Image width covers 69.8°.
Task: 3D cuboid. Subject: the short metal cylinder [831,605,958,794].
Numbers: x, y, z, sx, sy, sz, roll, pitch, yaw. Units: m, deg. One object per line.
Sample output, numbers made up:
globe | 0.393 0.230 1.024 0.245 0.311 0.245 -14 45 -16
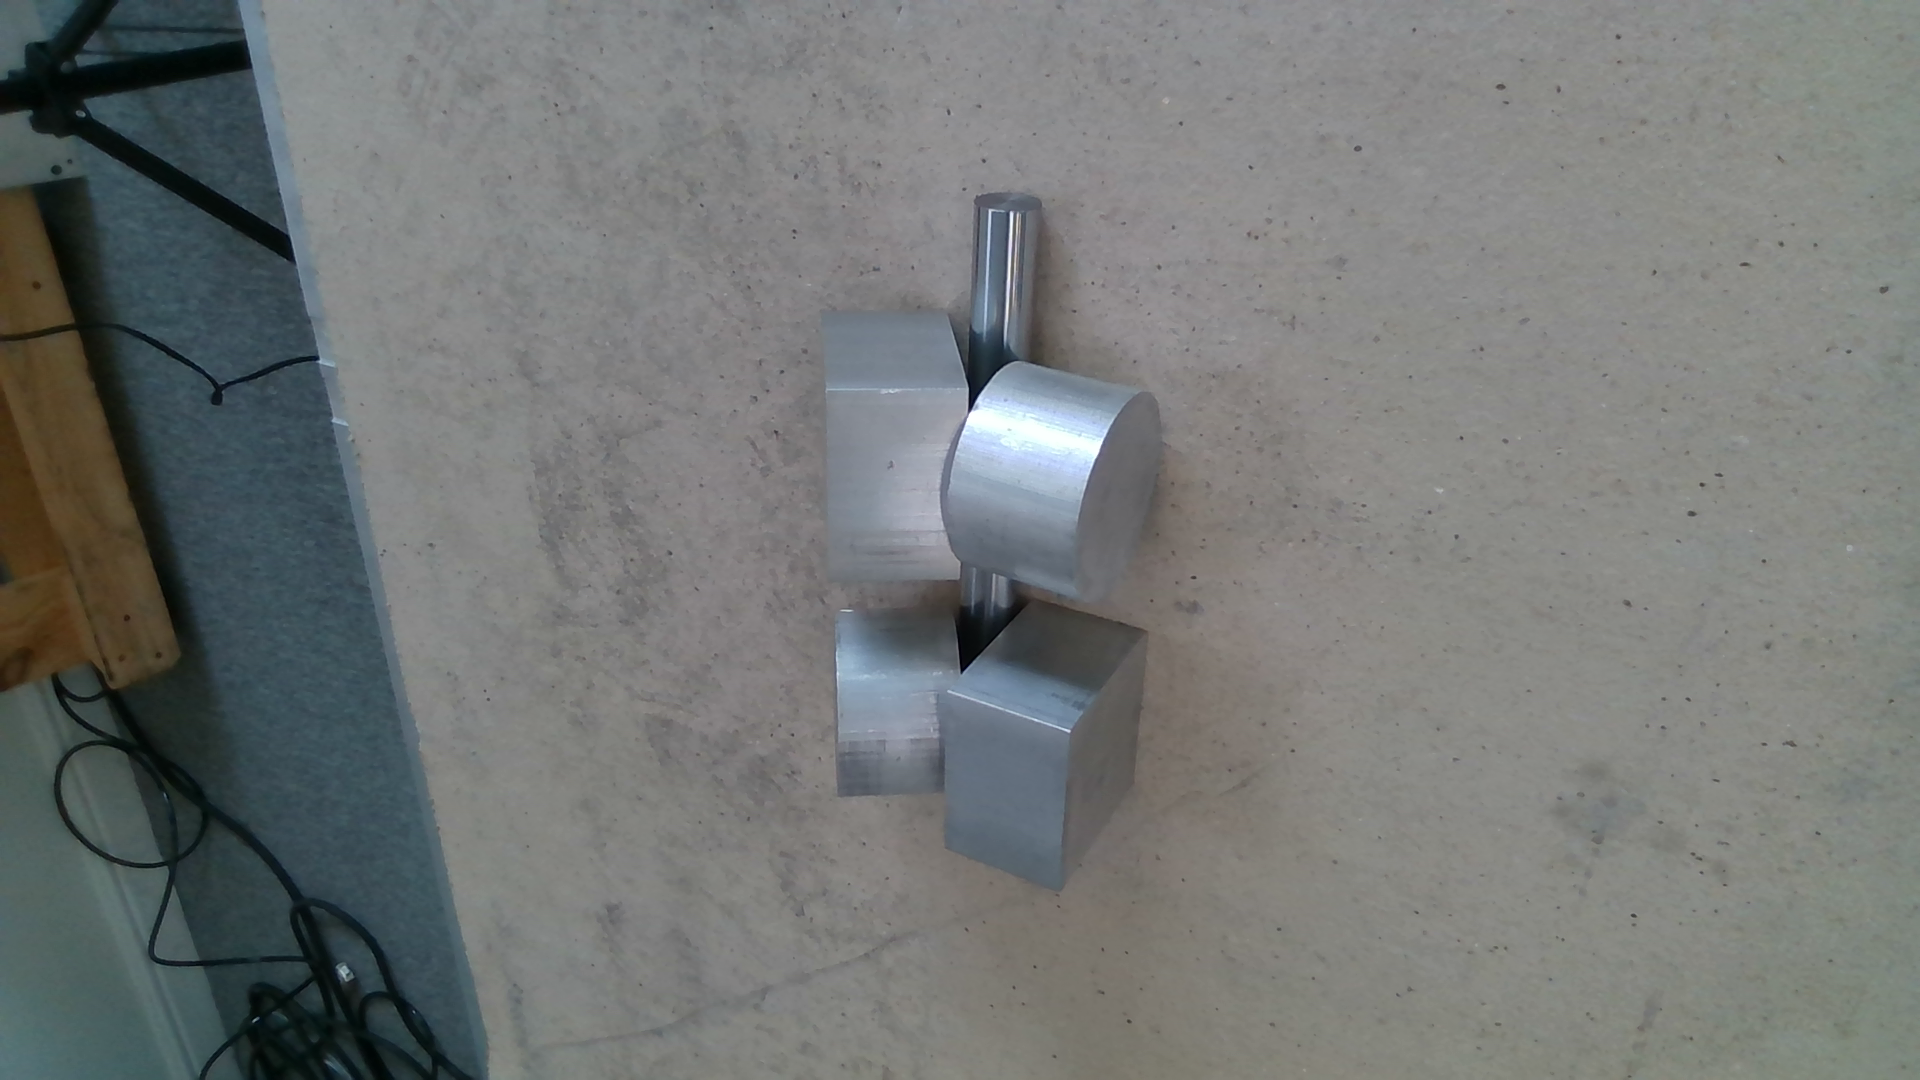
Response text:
short metal cylinder | -0.029 0.068 0.592 0.050 0.080 0.080 -2 120 -6

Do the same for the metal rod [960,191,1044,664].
metal rod | 0.013 0.006 0.578 0.025 0.025 0.301 16 123 24

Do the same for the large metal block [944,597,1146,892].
large metal block | 0.035 0.082 0.568 0.050 0.080 0.080 16 122 24

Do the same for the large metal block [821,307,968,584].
large metal block | -0.027 -0.039 0.533 0.050 0.080 0.080 -1 120 -6

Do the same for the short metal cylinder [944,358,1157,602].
short metal cylinder | 0.035 -0.023 0.510 0.050 0.080 0.080 17 123 23
